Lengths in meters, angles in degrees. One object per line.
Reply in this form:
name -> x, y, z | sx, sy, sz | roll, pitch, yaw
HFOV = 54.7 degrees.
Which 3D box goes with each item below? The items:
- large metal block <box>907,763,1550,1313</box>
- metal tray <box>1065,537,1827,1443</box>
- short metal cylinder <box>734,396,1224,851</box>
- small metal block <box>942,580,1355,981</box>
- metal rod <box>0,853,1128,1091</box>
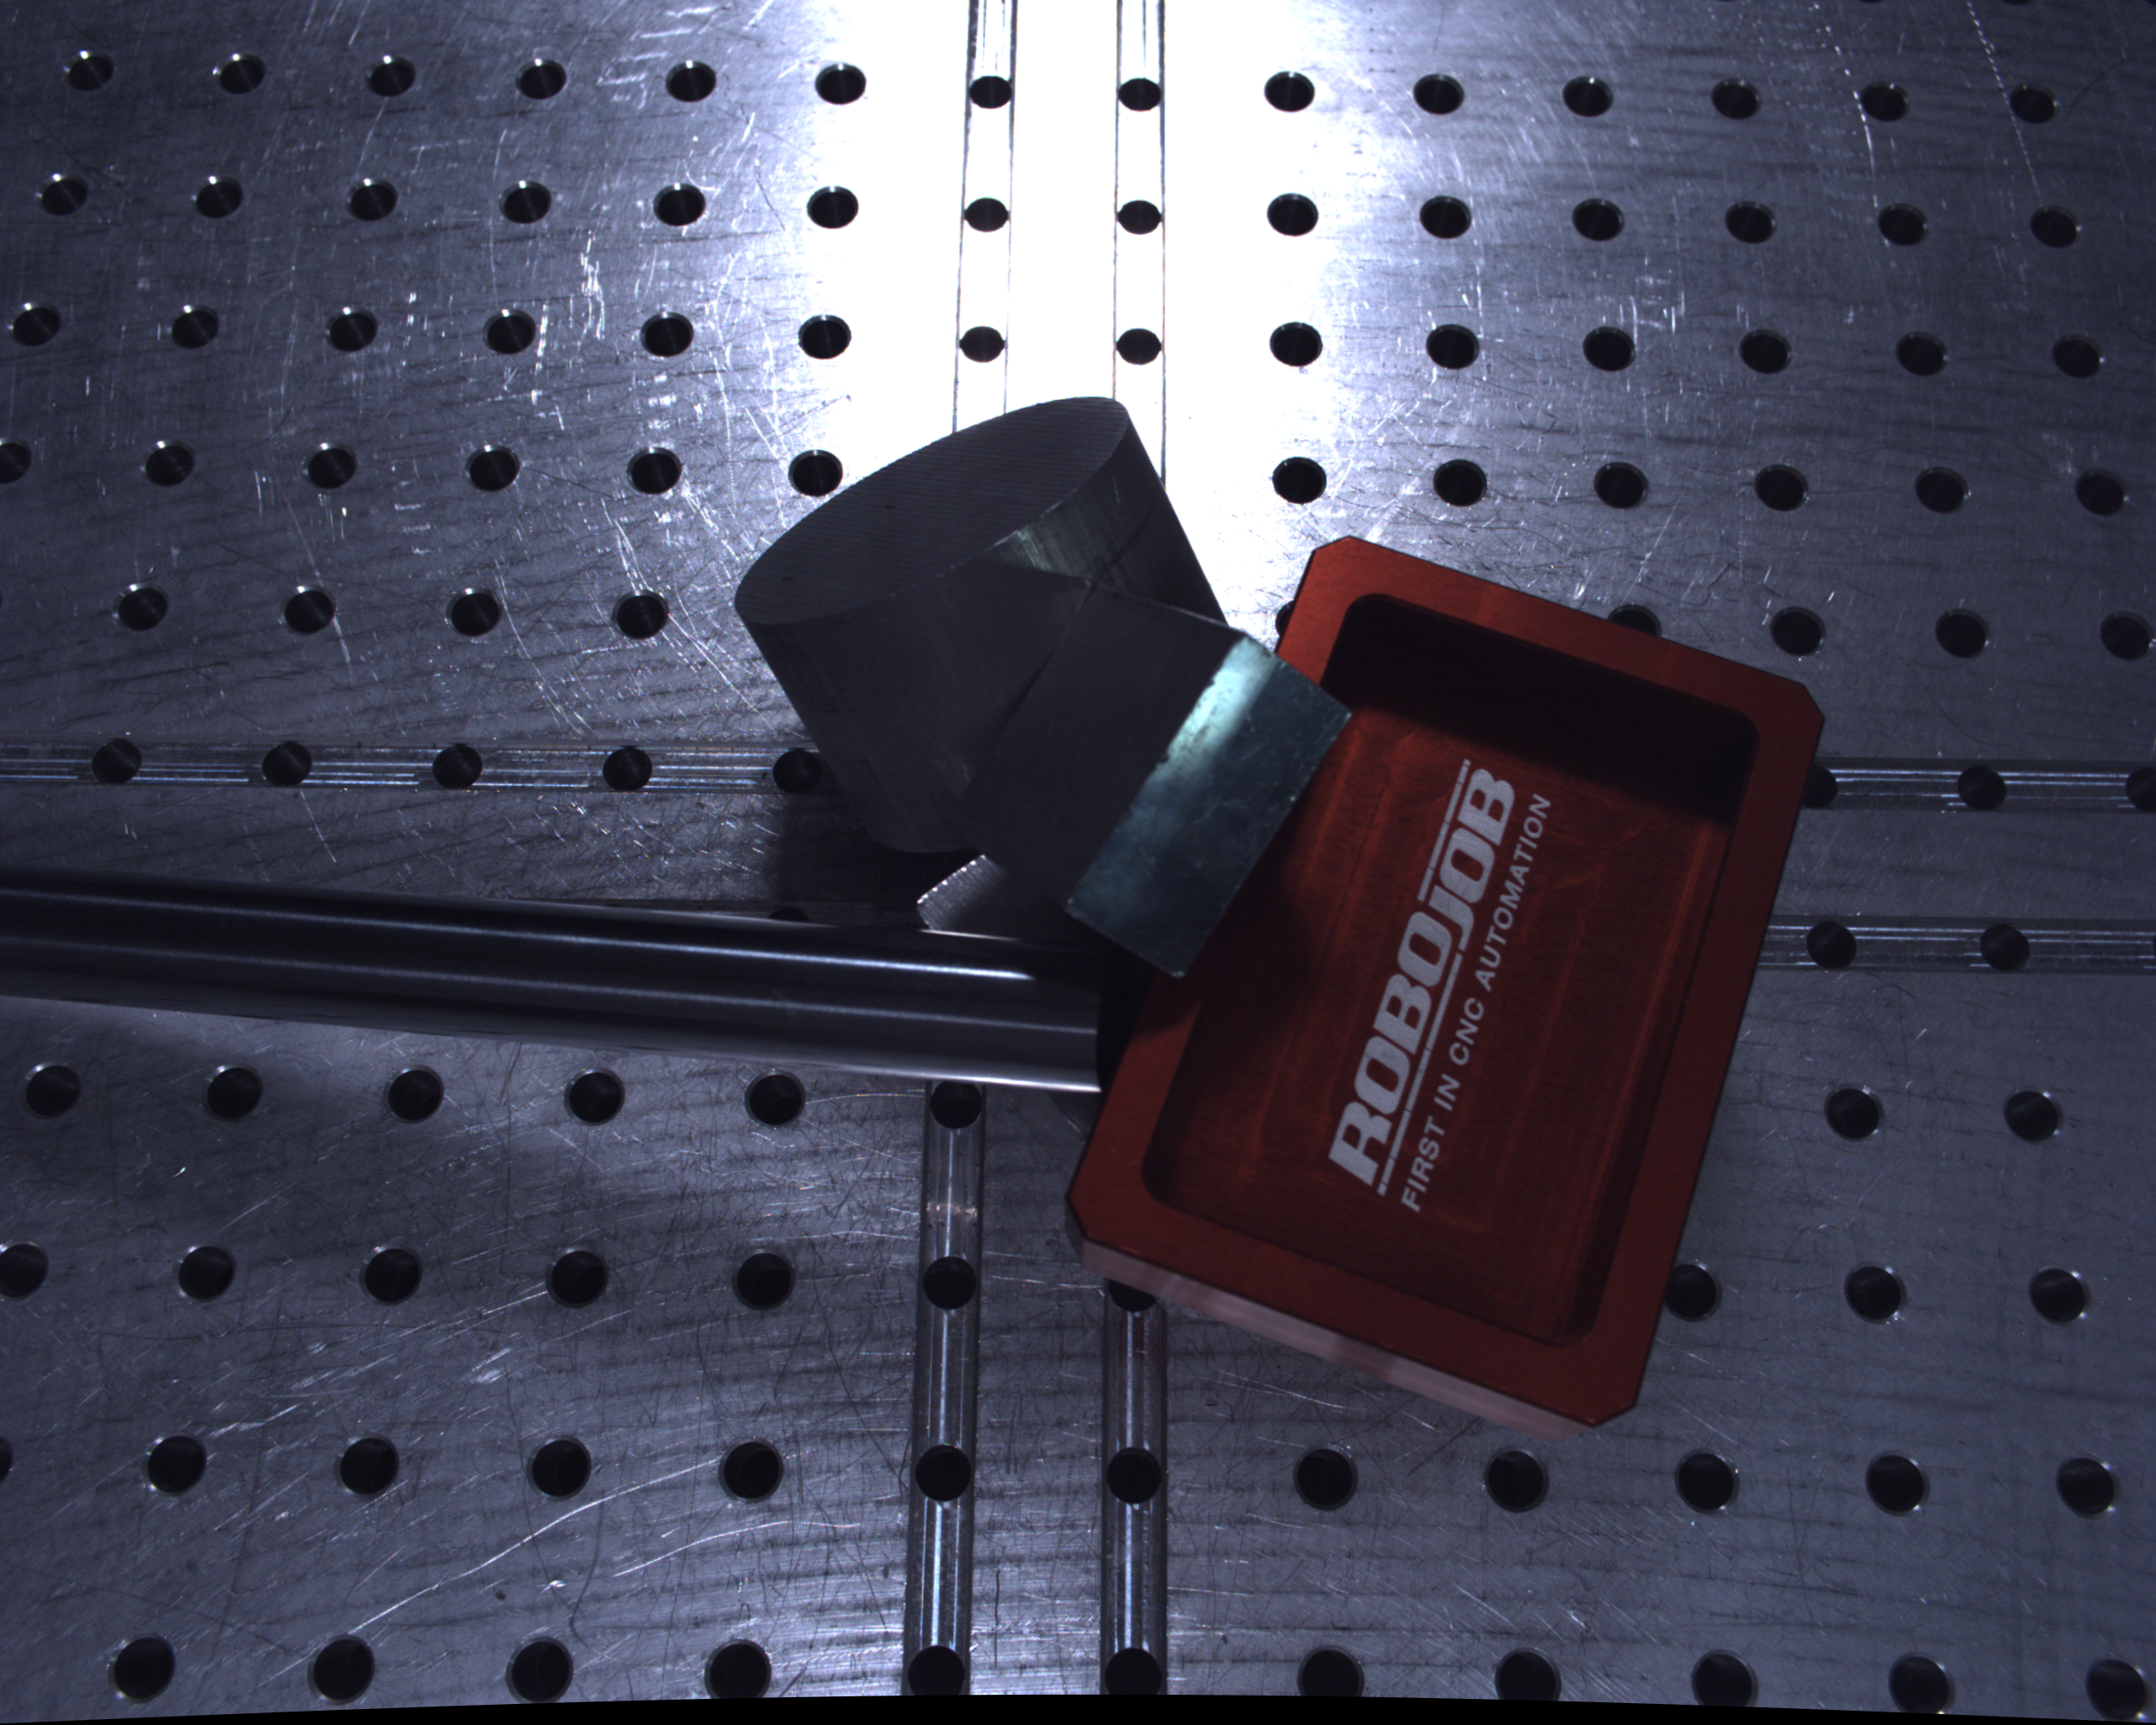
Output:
large metal block -> 0.026, 0.024, 0.388 | 0.080, 0.050, 0.080 | -34, 74, -12
metal tray -> 0.062, 0.019, 0.347 | 0.090, 0.030, 0.130 | 19, 71, 7
short metal cylinder -> -0.017, -0.046, 0.393 | 0.080, 0.080, 0.050 | -33, 116, -12
small metal block -> 0.010, -0.015, 0.340 | 0.025, 0.050, 0.050 | 33, 90, -30
metal rod -> -0.141, 0.015, 0.373 | 0.301, 0.025, 0.025 | 4, 70, 13
